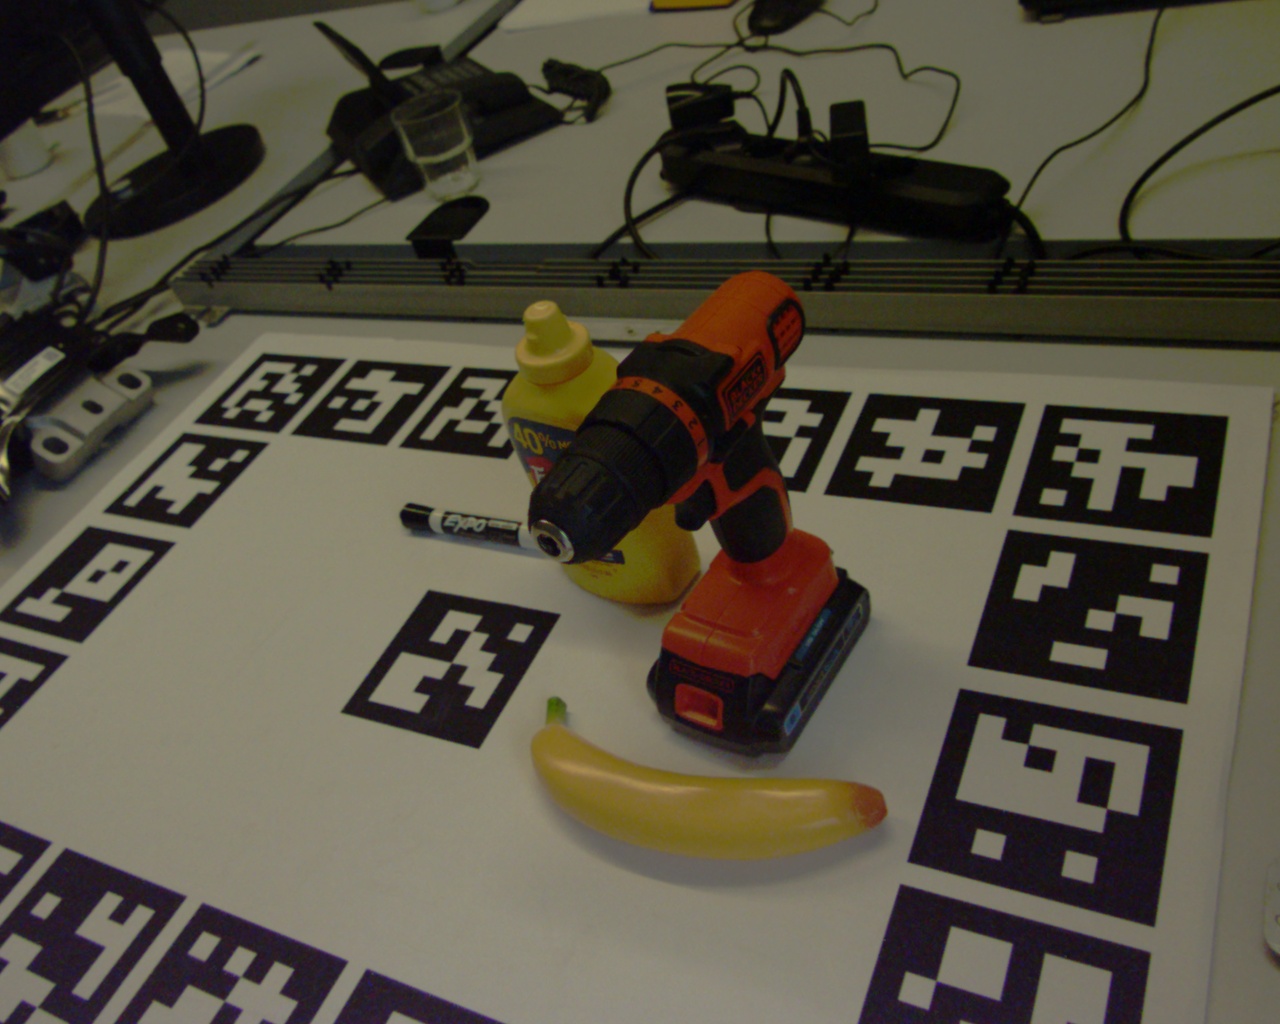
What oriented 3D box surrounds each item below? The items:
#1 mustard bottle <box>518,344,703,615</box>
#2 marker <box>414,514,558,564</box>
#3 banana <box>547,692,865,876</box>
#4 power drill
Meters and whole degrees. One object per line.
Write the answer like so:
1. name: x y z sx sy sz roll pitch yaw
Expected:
1. mustard bottle: -0.024 -0.021 0.691 0.097 0.190 0.058 18 53 33
2. marker: -0.112 0.018 0.812 0.122 0.019 0.019 9 50 29
3. banana: 0.021 0.152 0.608 0.200 0.038 0.074 13 53 34
4. power drill: 0.040 0.024 0.592 0.058 0.185 0.183 21 53 34
